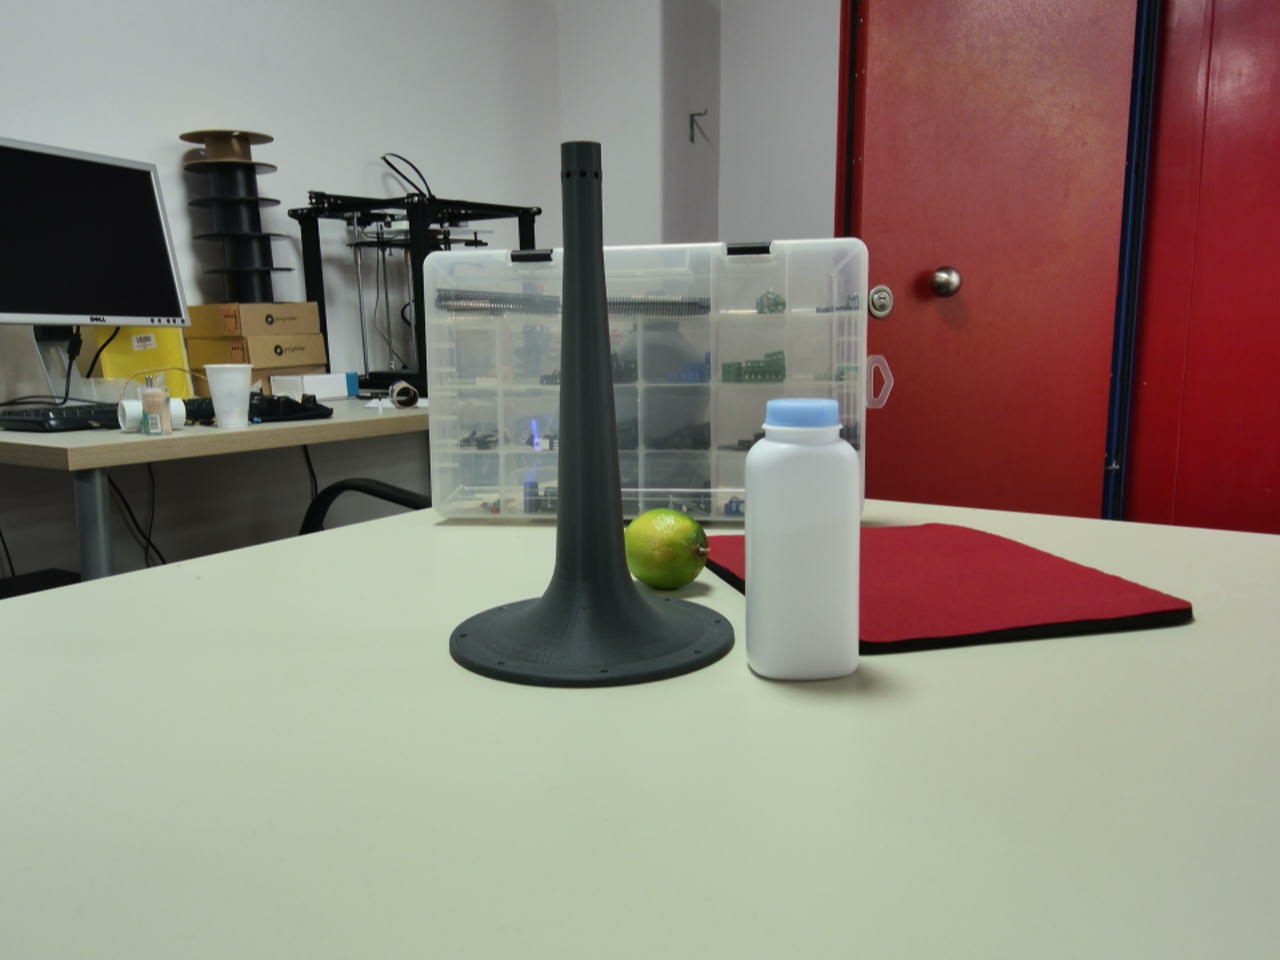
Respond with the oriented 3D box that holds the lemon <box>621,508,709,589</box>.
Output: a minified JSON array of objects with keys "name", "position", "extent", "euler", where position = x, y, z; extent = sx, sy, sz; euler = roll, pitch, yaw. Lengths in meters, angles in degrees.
[{"name":"lemon","position":[0.016,0.043,0.637],"extent":[0.054,0.050,0.055],"euler":[-1,7,-5]}]
